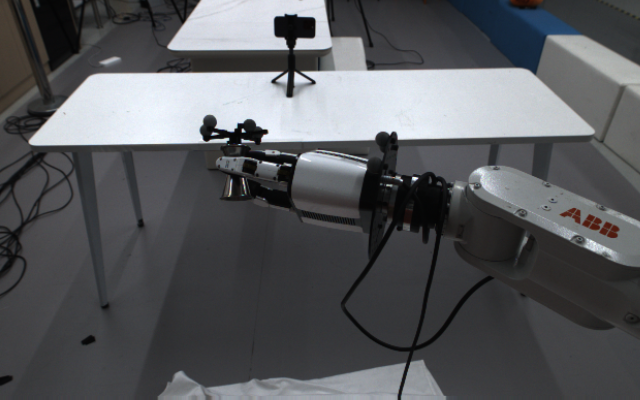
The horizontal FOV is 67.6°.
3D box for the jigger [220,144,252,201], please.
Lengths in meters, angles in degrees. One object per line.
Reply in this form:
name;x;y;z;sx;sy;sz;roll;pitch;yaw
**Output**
jigger;-0.109;-0.035;0.627;0.043;0.071;0.043;-2;-7;0
